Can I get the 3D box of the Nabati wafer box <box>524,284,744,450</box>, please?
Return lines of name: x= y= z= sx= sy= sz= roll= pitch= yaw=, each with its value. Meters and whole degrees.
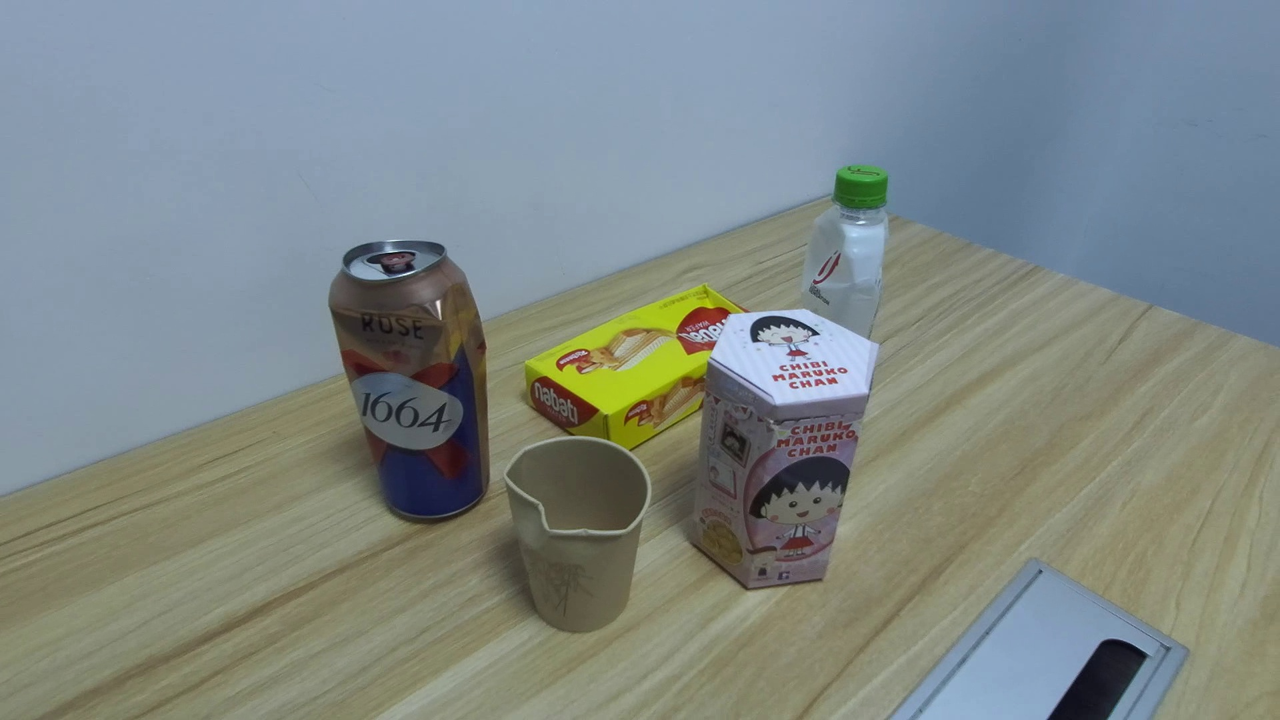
Nabati wafer box: x=0.020 y=-0.002 z=0.552 sx=0.204 sy=0.042 sz=0.096 roll=-26 pitch=39 yaw=-34

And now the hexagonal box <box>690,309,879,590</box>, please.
hexagonal box: x=0.076 y=0.051 z=0.388 sx=0.091 sy=0.136 sz=0.083 roll=-6 pitch=34 yaw=-10

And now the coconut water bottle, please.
coconut water bottle: x=0.132 y=-0.033 z=0.471 sx=0.067 sy=0.187 sz=0.067 roll=1 pitch=30 yaw=-1

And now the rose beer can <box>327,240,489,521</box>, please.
rose beer can: x=-0.130 y=0.014 z=0.416 sx=0.075 sy=0.167 sz=0.065 roll=12 pitch=34 yaw=17

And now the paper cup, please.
paper cup: x=-0.032 y=0.094 z=0.373 sx=0.073 sy=0.081 sz=0.068 roll=-2 pitch=33 yaw=-5
